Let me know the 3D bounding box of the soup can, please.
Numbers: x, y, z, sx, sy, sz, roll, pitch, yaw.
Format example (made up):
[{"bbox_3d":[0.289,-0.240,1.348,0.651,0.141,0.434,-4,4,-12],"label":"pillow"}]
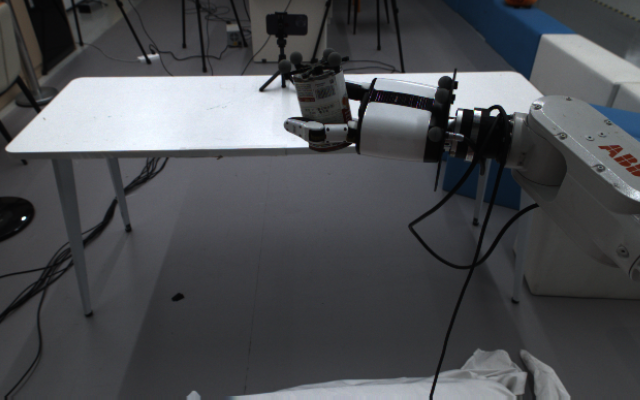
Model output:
[{"bbox_3d":[0.008,-0.124,0.649,0.067,0.101,0.067,-11,28,6],"label":"soup can"}]
